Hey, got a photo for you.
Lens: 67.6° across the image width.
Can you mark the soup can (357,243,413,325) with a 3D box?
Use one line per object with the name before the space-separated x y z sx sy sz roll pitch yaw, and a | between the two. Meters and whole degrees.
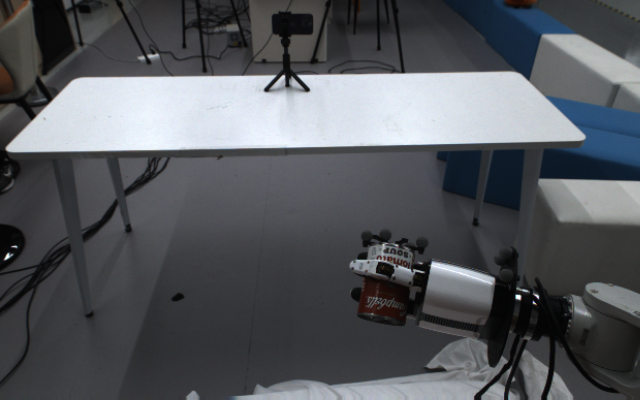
soup can | 0.094 0.117 0.670 0.067 0.067 0.101 9 71 9
